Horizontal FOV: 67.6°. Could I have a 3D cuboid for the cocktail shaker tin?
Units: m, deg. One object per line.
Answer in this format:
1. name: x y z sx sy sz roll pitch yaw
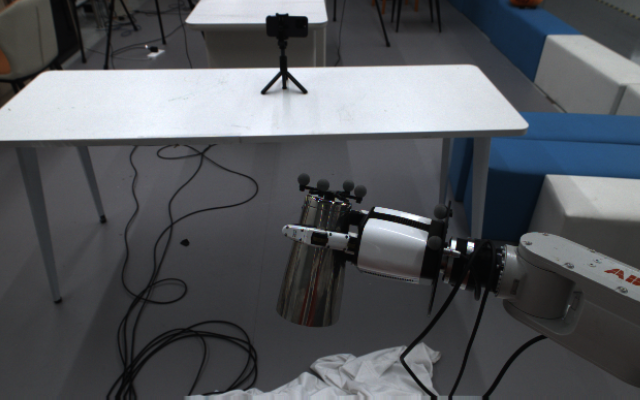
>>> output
1. cocktail shaker tin: 0.001 0.078 0.685 0.093 0.170 0.093 10 9 -2
